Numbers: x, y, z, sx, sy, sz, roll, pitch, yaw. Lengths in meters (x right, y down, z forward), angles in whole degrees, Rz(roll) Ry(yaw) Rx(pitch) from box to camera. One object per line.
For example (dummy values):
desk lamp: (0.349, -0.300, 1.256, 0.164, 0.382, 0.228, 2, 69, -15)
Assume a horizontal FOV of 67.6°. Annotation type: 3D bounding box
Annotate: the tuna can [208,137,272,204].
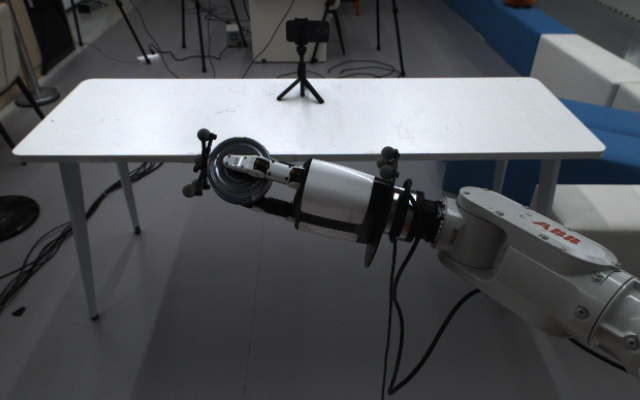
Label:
tuna can: (-0.103, -0.039, 0.638, 0.085, 0.034, 0.085, 1, 74, -5)
